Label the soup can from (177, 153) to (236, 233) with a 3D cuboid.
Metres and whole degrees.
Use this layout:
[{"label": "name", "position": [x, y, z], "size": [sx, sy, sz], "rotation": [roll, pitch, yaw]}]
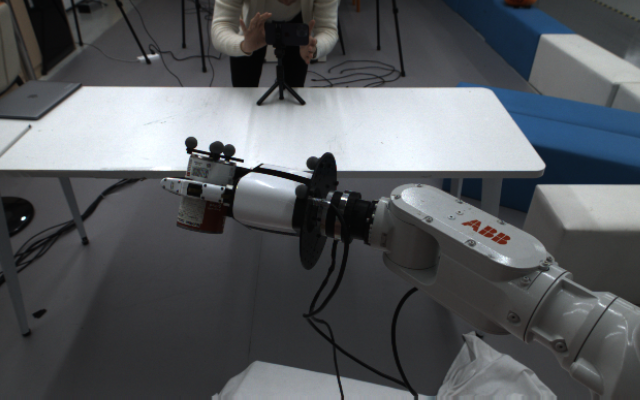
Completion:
[{"label": "soup can", "position": [-0.159, -0.007, 0.682], "size": [0.067, 0.101, 0.067], "rotation": [11, 2, 0]}]
